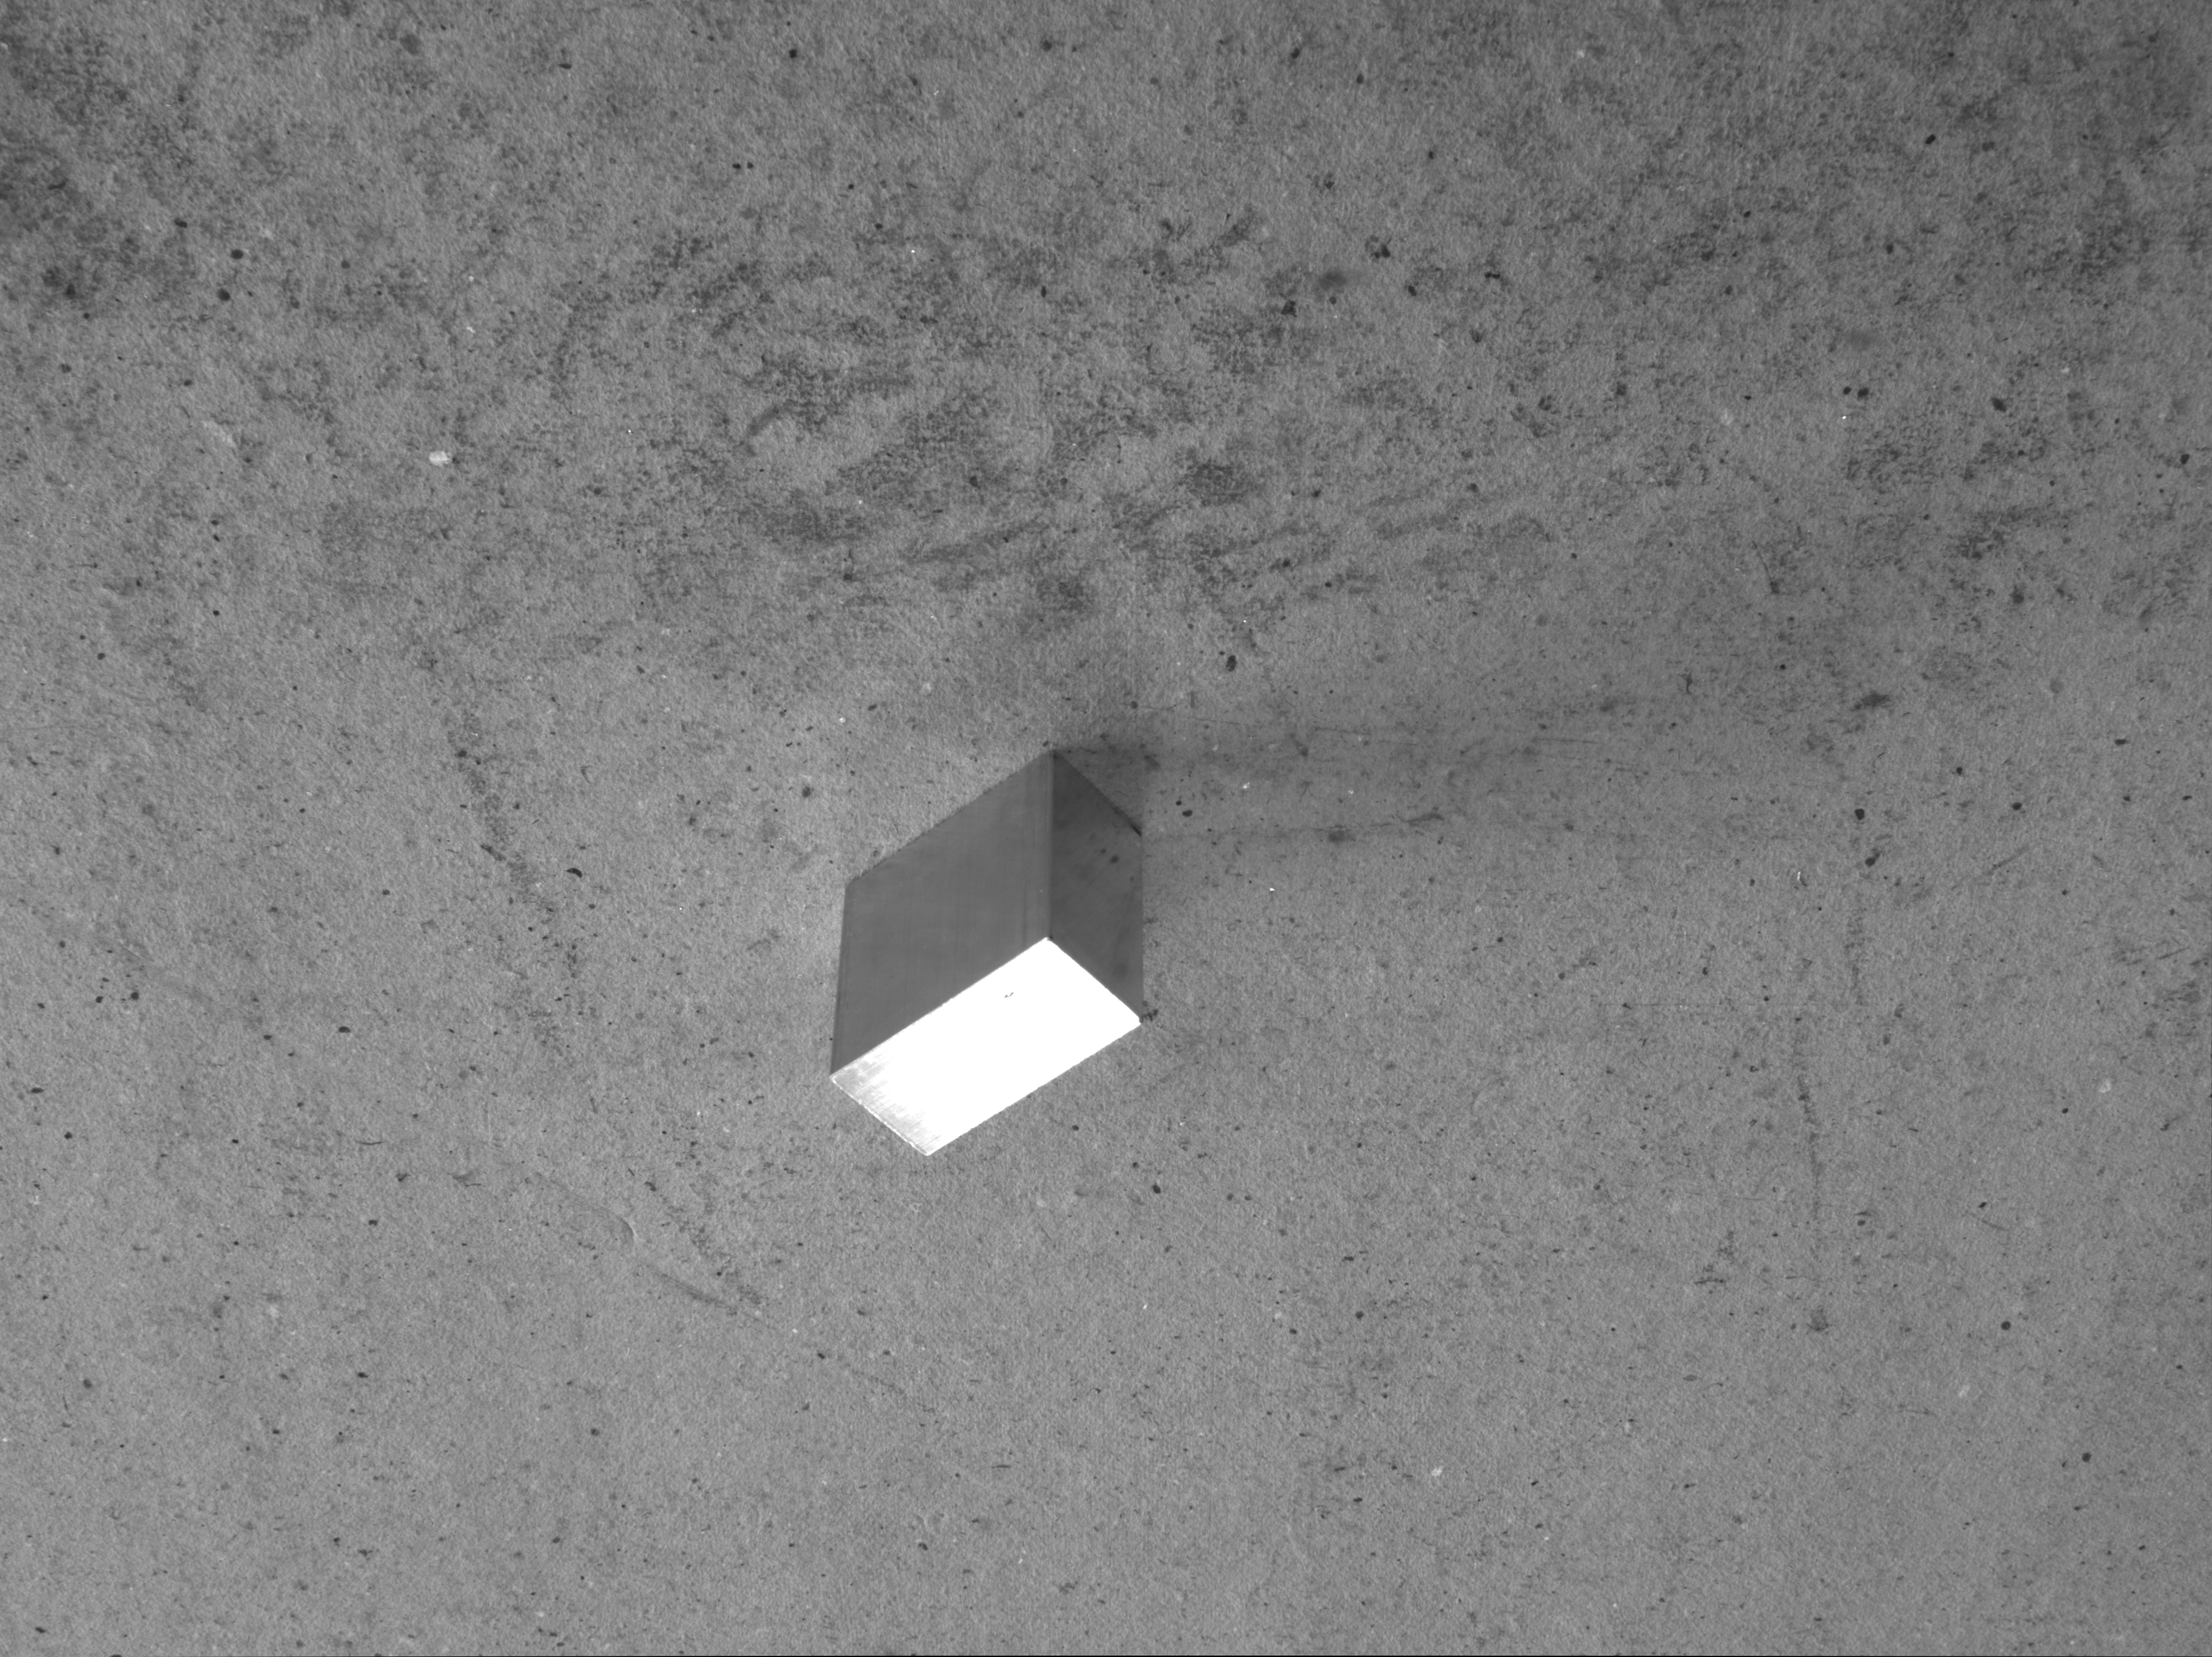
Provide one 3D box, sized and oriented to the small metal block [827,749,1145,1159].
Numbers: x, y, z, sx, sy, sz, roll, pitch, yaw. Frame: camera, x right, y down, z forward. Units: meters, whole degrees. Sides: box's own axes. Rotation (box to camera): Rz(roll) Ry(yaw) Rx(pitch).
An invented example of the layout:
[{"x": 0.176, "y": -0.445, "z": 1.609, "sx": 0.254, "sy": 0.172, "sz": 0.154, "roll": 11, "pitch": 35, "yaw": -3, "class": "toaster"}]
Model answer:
[{"x": -0.021, "y": 0.022, "z": 0.642, "sx": 0.050, "sy": 0.050, "sz": 0.025, "roll": -33, "pitch": 123, "yaw": 24, "class": "small metal block"}]
